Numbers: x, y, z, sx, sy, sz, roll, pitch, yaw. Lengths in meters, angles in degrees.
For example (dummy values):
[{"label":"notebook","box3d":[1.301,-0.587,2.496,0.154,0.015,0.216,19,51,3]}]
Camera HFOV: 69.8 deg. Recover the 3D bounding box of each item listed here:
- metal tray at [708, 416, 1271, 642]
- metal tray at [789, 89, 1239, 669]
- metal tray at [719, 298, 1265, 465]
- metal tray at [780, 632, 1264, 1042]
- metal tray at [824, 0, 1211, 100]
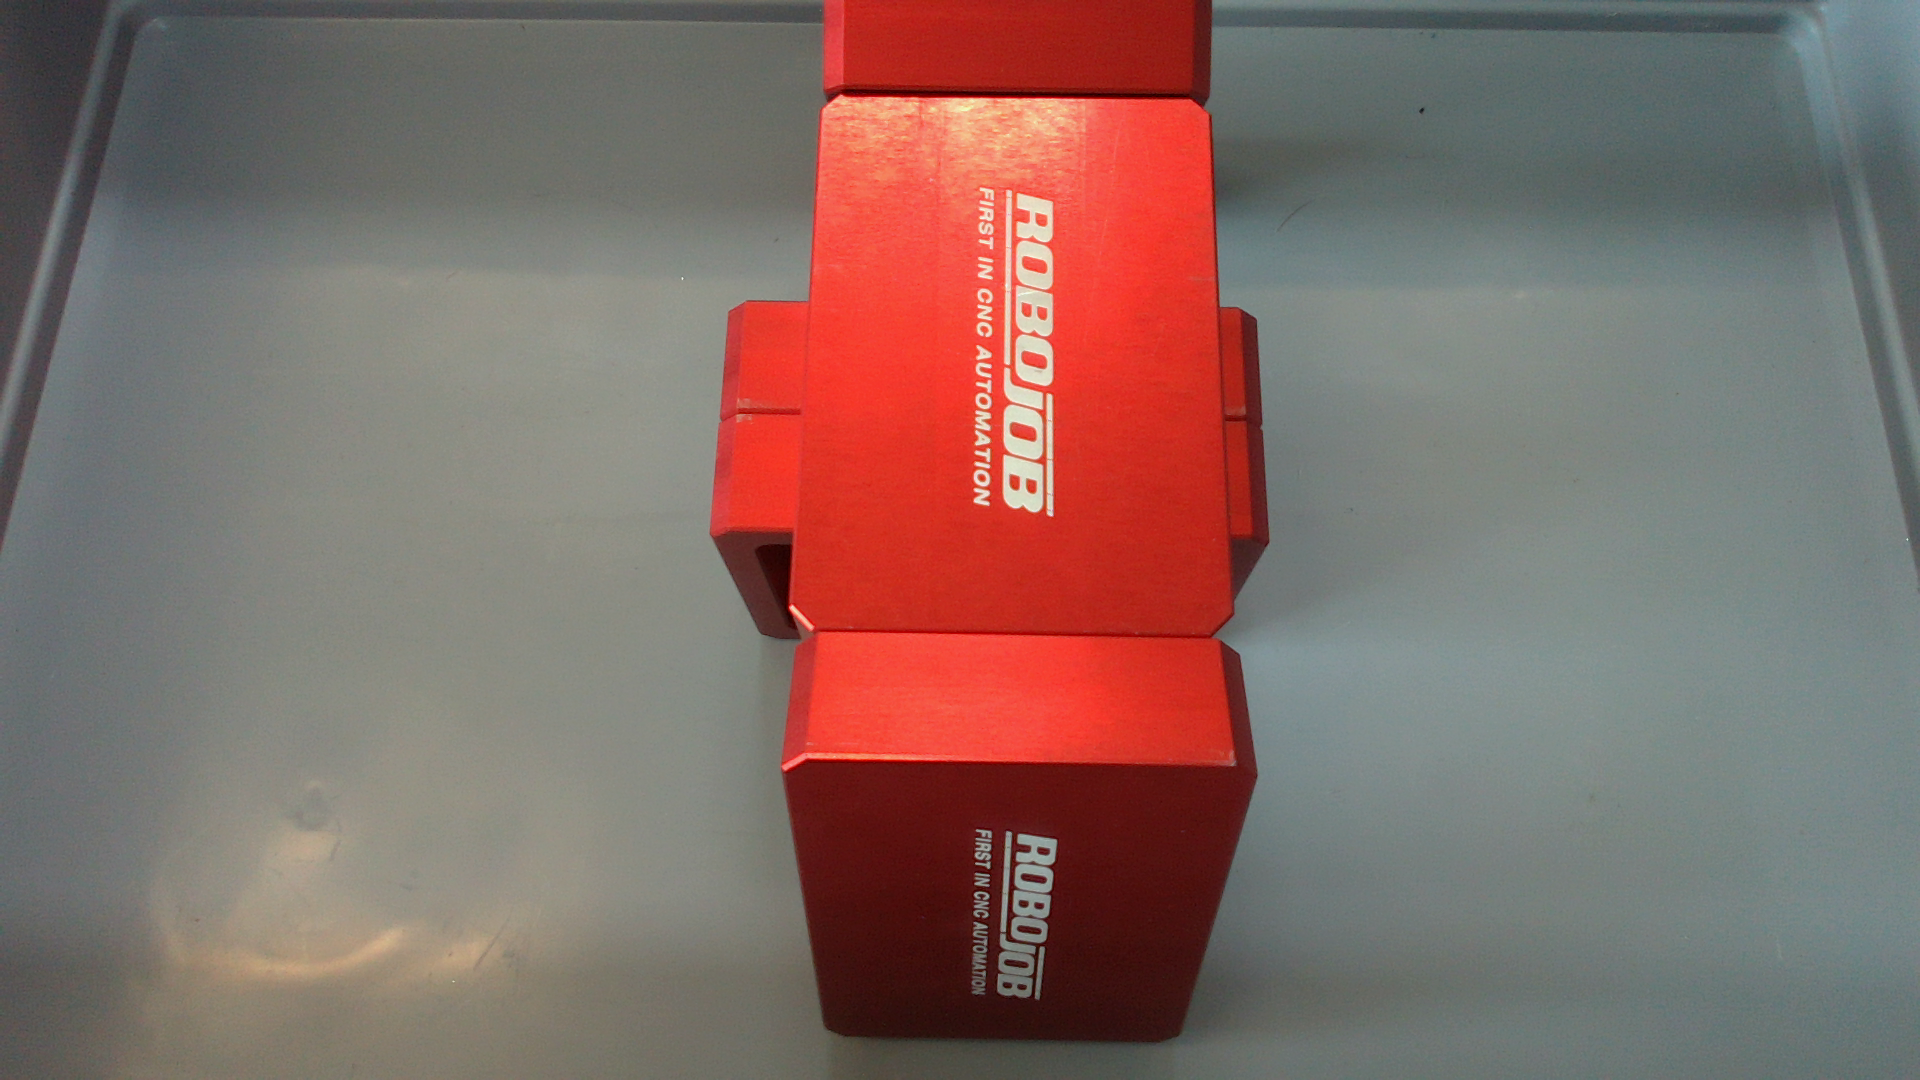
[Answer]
[{"label":"metal tray","box3d":[0.007,0.001,0.359,0.130,0.090,0.030,1,70,0]},{"label":"metal tray","box3d":[0.012,-0.037,0.308,0.090,0.030,0.130,1,70,0]},{"label":"metal tray","box3d":[0.008,-0.029,0.370,0.130,0.090,0.030,1,70,0]},{"label":"metal tray","box3d":[0.011,0.072,0.310,0.090,0.130,0.030,1,48,0]},{"label":"metal tray","box3d":[0.014,-0.119,0.381,0.090,0.130,0.030,1,90,0]}]
